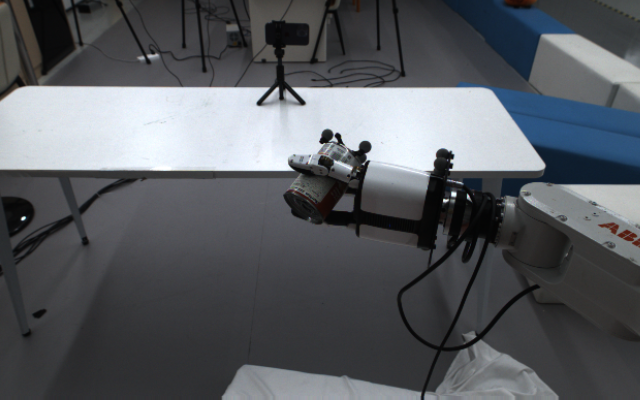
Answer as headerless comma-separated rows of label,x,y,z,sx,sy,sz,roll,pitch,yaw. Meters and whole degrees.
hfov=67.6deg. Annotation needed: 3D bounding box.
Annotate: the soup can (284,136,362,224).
soup can,0.005,-0.025,0.686,0.067,0.067,0.101,25,66,30
